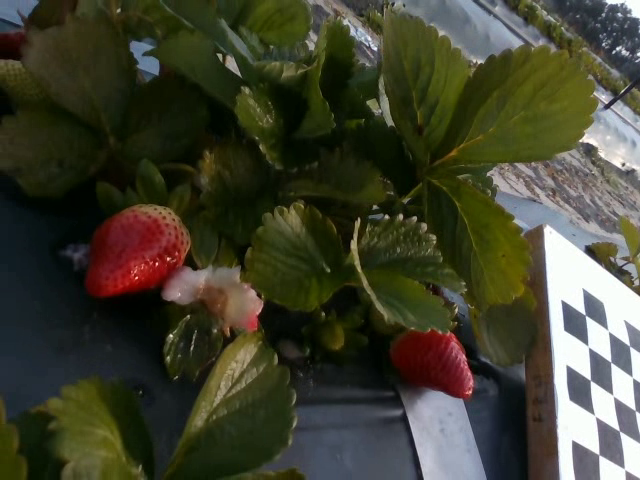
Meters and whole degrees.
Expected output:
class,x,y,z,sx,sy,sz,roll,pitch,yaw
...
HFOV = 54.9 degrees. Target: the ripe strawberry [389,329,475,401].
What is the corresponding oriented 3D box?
class,x,y,z,sx,sy,sz,roll,pitch,yaw
ripe strawberry,0.061,0.062,0.296,0.050,0.055,0.035,33,-61,-30
